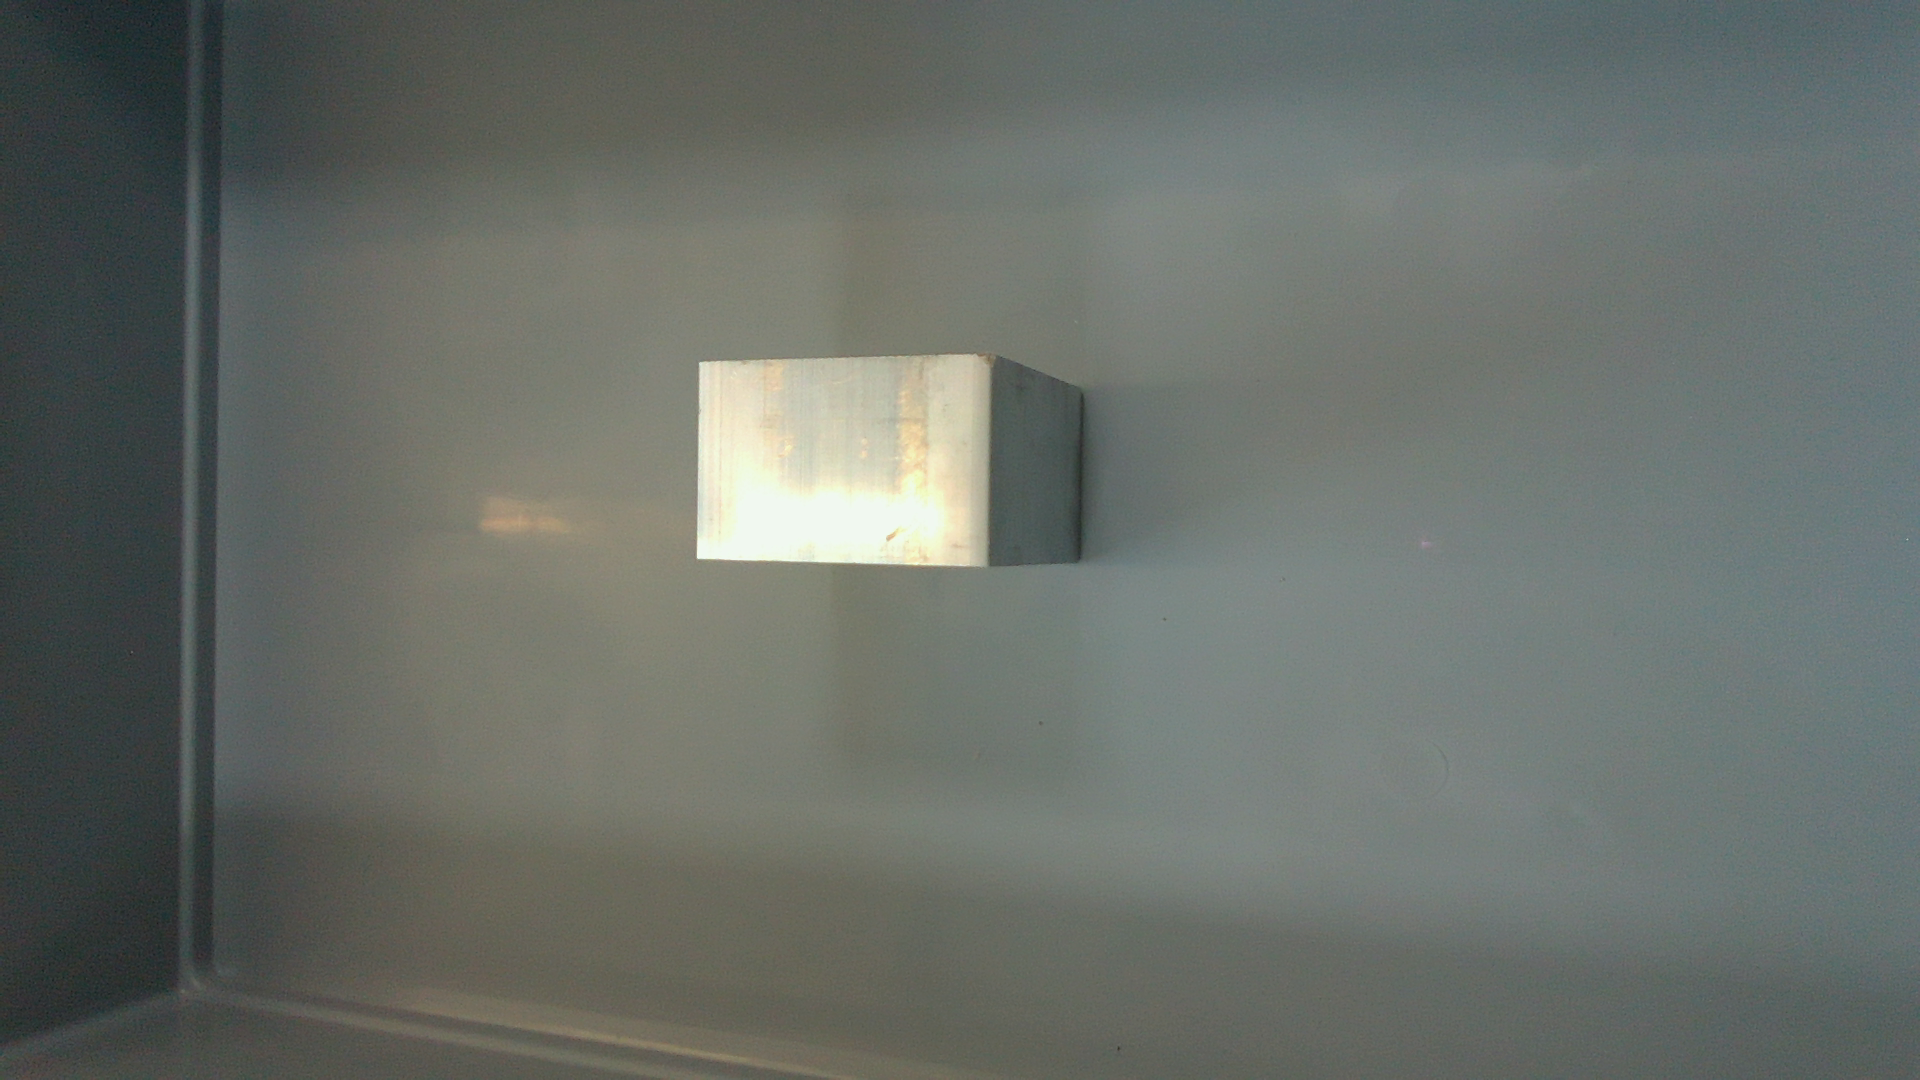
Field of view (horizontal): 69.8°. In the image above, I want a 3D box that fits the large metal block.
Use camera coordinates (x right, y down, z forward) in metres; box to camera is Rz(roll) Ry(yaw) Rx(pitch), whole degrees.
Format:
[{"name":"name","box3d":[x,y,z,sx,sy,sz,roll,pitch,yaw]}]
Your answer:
[{"name":"large metal block","box3d":[-0.016,-0.019,0.371,0.080,0.080,0.050,1,91,20]}]
